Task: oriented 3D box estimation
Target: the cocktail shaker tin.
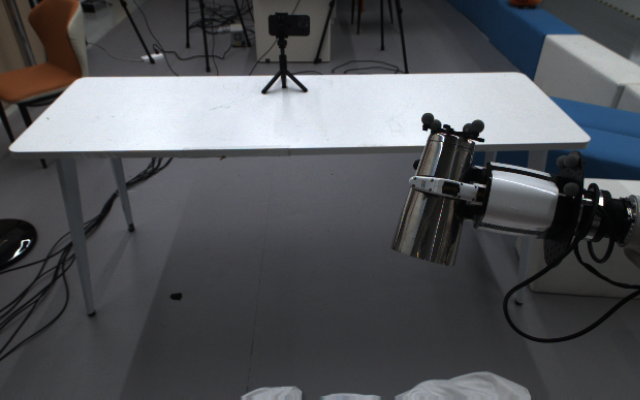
[{"bbox_3d":[0.164,-0.004,0.680,0.093,0.170,0.093,14,2,0],"label":"cocktail shaker tin"}]
